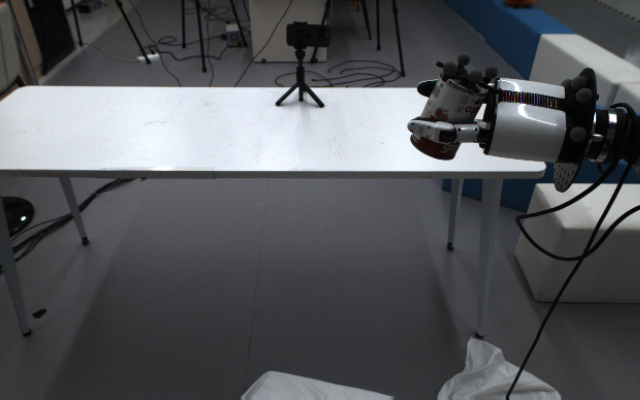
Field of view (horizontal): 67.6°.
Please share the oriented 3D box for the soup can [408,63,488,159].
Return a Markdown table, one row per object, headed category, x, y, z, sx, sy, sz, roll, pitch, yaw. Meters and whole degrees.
| category | x | y | z | sx | sy | sz | roll | pitch | yaw |
| --- | --- | --- | --- | --- | --- | --- | --- | --- | --- |
| soup can | 0.174 | -0.115 | 0.652 | 0.067 | 0.101 | 0.067 | 14 | 35 | -10 |
